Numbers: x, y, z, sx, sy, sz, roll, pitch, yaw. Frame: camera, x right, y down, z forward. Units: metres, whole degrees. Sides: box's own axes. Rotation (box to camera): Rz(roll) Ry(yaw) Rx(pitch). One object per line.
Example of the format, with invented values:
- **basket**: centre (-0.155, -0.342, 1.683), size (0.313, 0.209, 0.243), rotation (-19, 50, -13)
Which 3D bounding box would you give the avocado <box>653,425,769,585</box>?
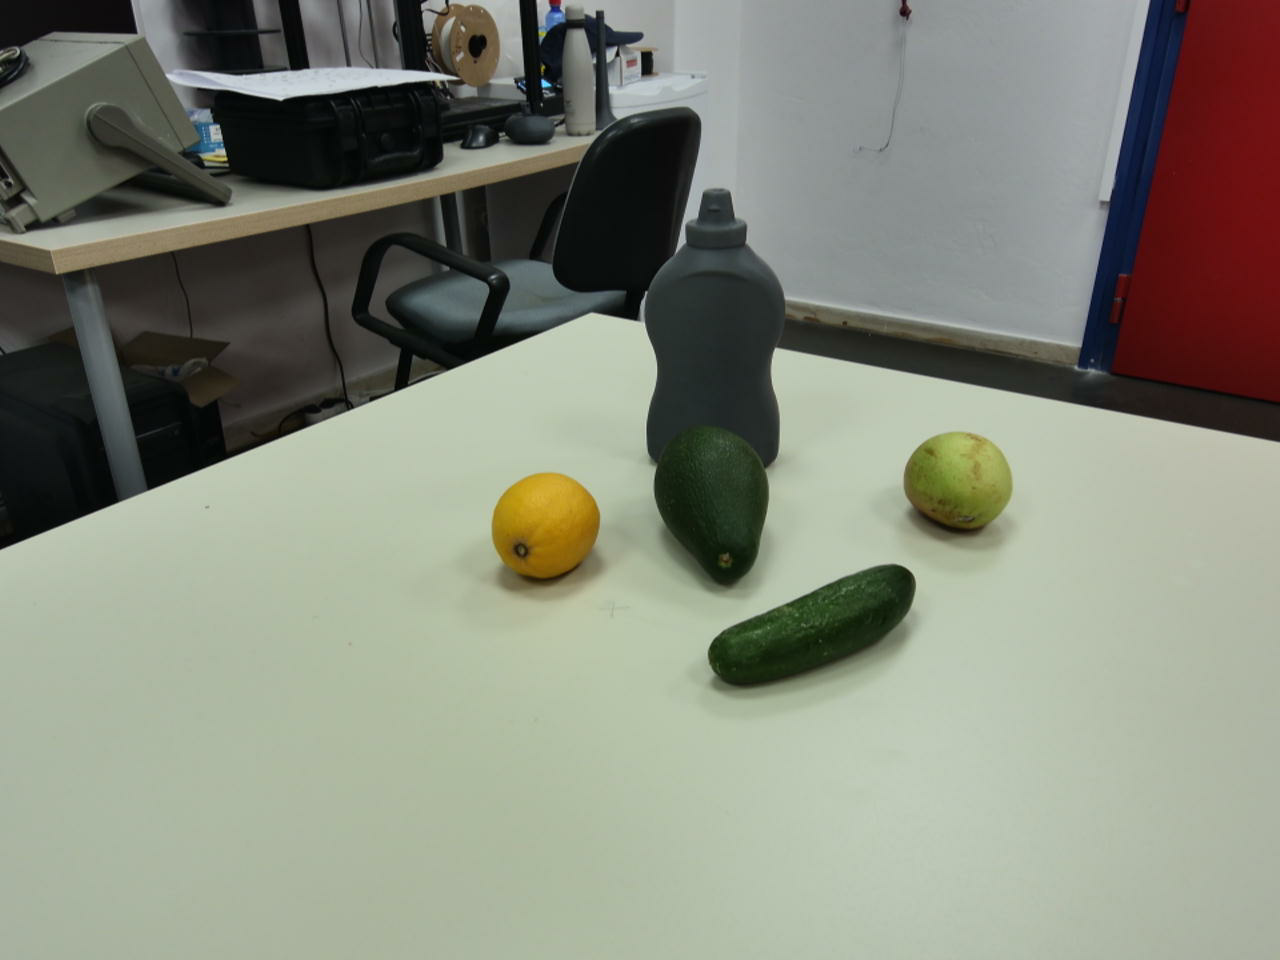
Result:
- **avocado**: centre (0.041, 0.010, 0.602), size (0.073, 0.071, 0.109), rotation (7, 26, 12)
